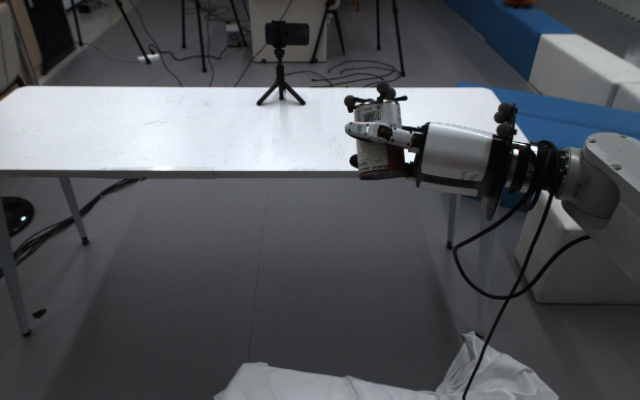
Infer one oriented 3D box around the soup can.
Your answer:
[{"bbox_3d":[0.085,-0.084,0.686,0.067,0.101,0.067,-5,-5,0],"label":"soup can"}]
